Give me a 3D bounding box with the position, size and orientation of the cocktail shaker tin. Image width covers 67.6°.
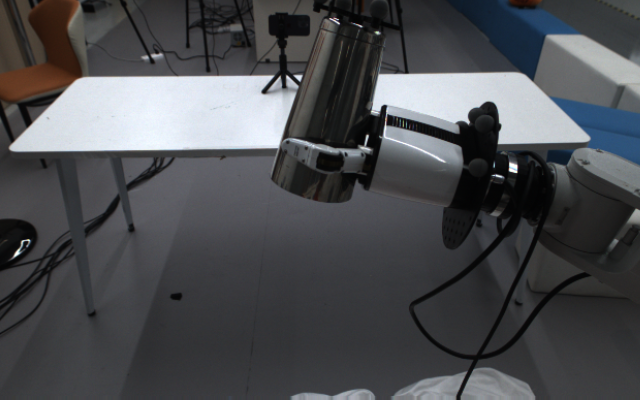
[{"bbox_3d":[0.014,-0.093,0.502,0.093,0.170,0.093,14,20,-5],"label":"cocktail shaker tin"}]
